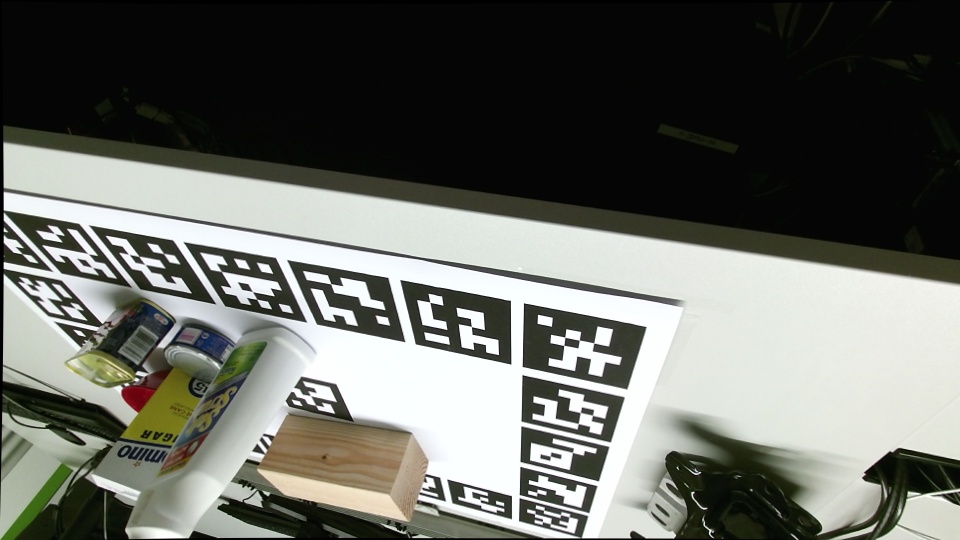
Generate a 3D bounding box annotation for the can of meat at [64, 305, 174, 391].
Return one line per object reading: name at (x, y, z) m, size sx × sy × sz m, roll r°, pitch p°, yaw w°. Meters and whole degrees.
can of meat at (-0.434, 0.095, 0.651) m, size 0.102 × 0.083 × 0.058 m, roll -14°, pitch 131°, yaw 33°

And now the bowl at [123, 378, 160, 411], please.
bowl at (-0.443, 0.204, 0.782) m, size 0.162 × 0.055 × 0.162 m, roll 8°, pitch 137°, yaw 7°

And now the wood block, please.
wood block at (-0.194, 0.286, 0.755) m, size 0.207 × 0.089 × 0.091 m, roll 3°, pitch 131°, yaw 18°

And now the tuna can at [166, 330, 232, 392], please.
tuna can at (-0.345, 0.114, 0.665) m, size 0.086 × 0.033 × 0.086 m, roll 9°, pitch 133°, yaw 10°

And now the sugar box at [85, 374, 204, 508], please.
sugar box at (-0.383, 0.202, 0.665) m, size 0.093 × 0.175 × 0.045 m, roll 21°, pitch 135°, yaw -7°

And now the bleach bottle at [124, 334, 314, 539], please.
bleach bottle at (-0.275, 0.185, 0.558) m, size 0.103 × 0.250 × 0.068 m, roll -11°, pitch 130°, yaw 29°
